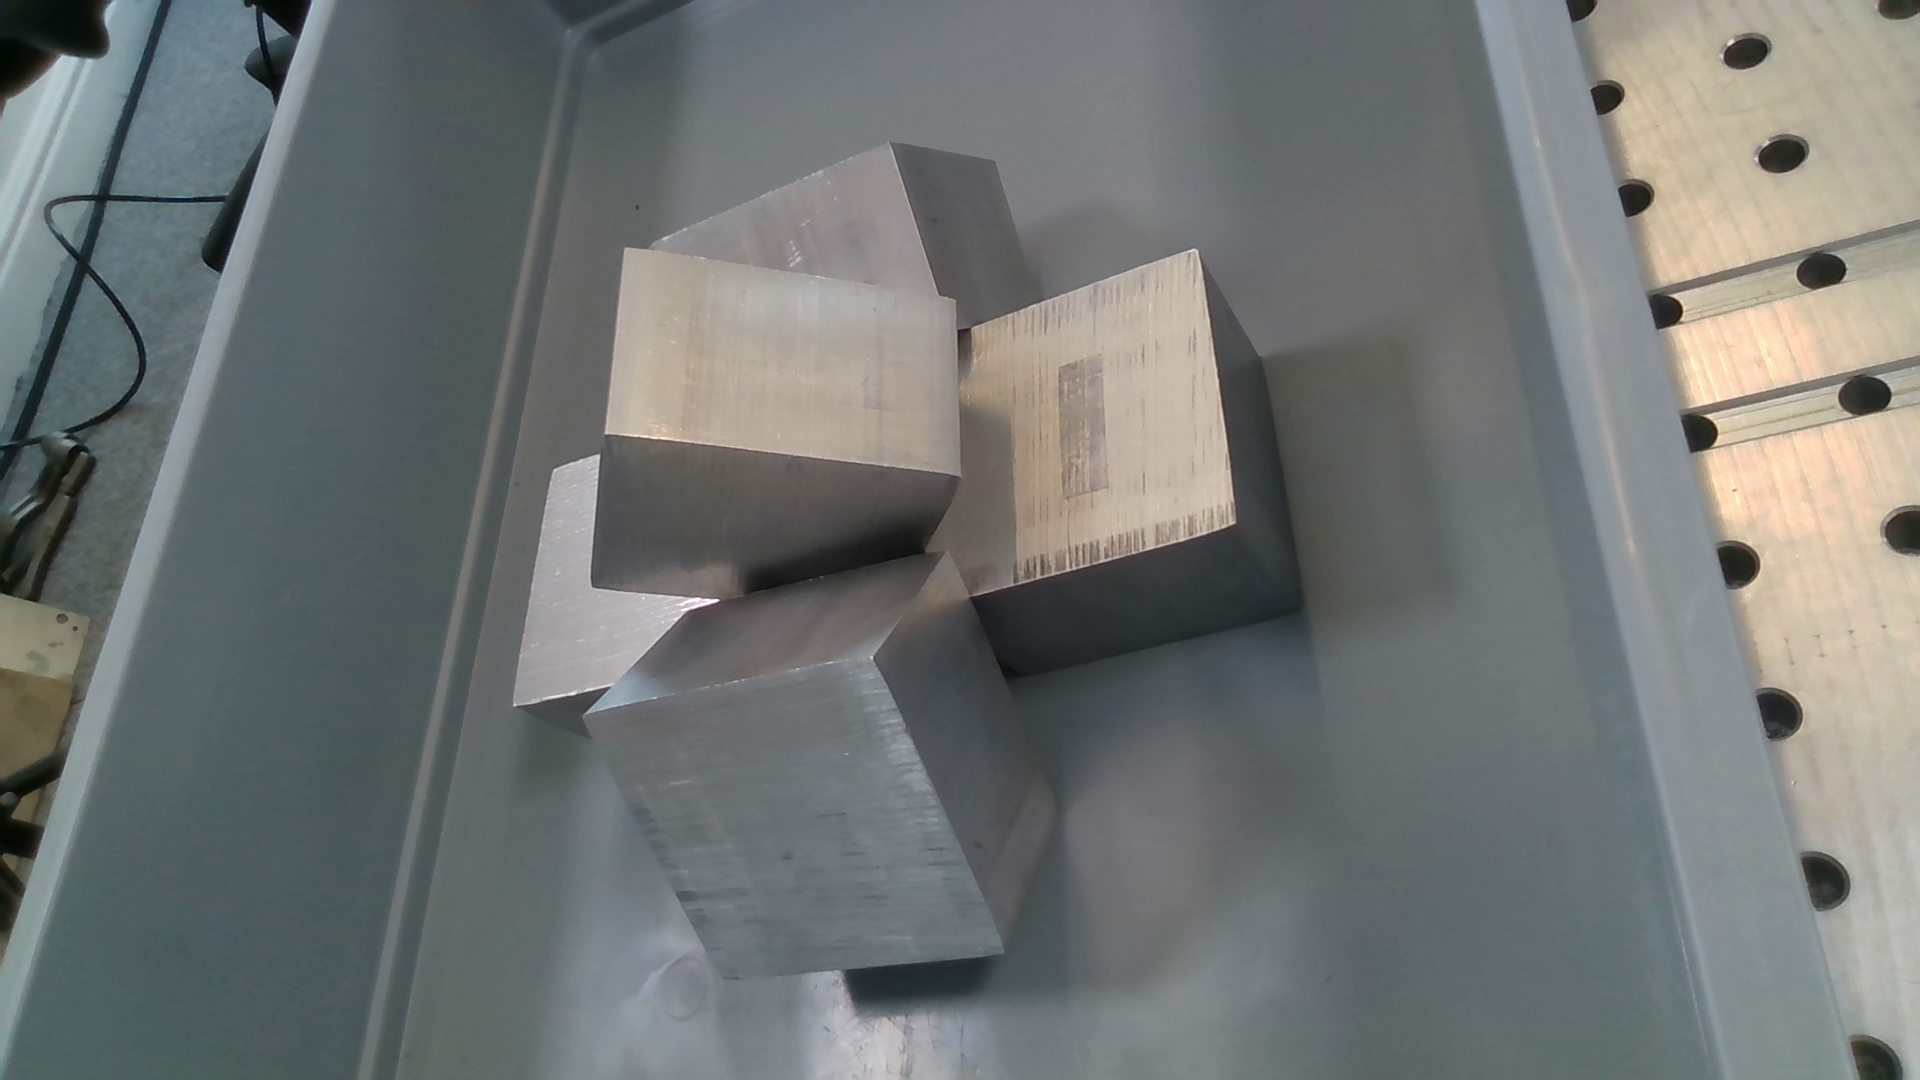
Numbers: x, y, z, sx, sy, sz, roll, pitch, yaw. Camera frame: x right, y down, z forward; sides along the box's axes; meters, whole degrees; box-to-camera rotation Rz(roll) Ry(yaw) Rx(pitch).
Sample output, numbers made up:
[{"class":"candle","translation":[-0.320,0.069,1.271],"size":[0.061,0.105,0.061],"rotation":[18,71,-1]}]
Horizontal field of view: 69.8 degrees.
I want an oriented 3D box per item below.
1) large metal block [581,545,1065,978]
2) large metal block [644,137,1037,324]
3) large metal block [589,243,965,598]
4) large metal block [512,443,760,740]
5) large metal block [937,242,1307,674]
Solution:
[{"class":"large metal block","translation":[-0.031,0.056,0.337],"size":[0.080,0.080,0.050],"rotation":[-14,20,26]},{"class":"large metal block","translation":[-0.031,-0.076,0.406],"size":[0.080,0.080,0.050],"rotation":[-16,94,25]},{"class":"large metal block","translation":[-0.049,-0.024,0.347],"size":[0.080,0.080,0.050],"rotation":[6,62,-14]},{"class":"large metal block","translation":[-0.082,0.014,0.419],"size":[0.080,0.050,0.080],"rotation":[-14,59,25]},{"class":"large metal block","translation":[0.038,-0.019,0.359],"size":[0.080,0.050,0.080],"rotation":[-16,58,24]}]
